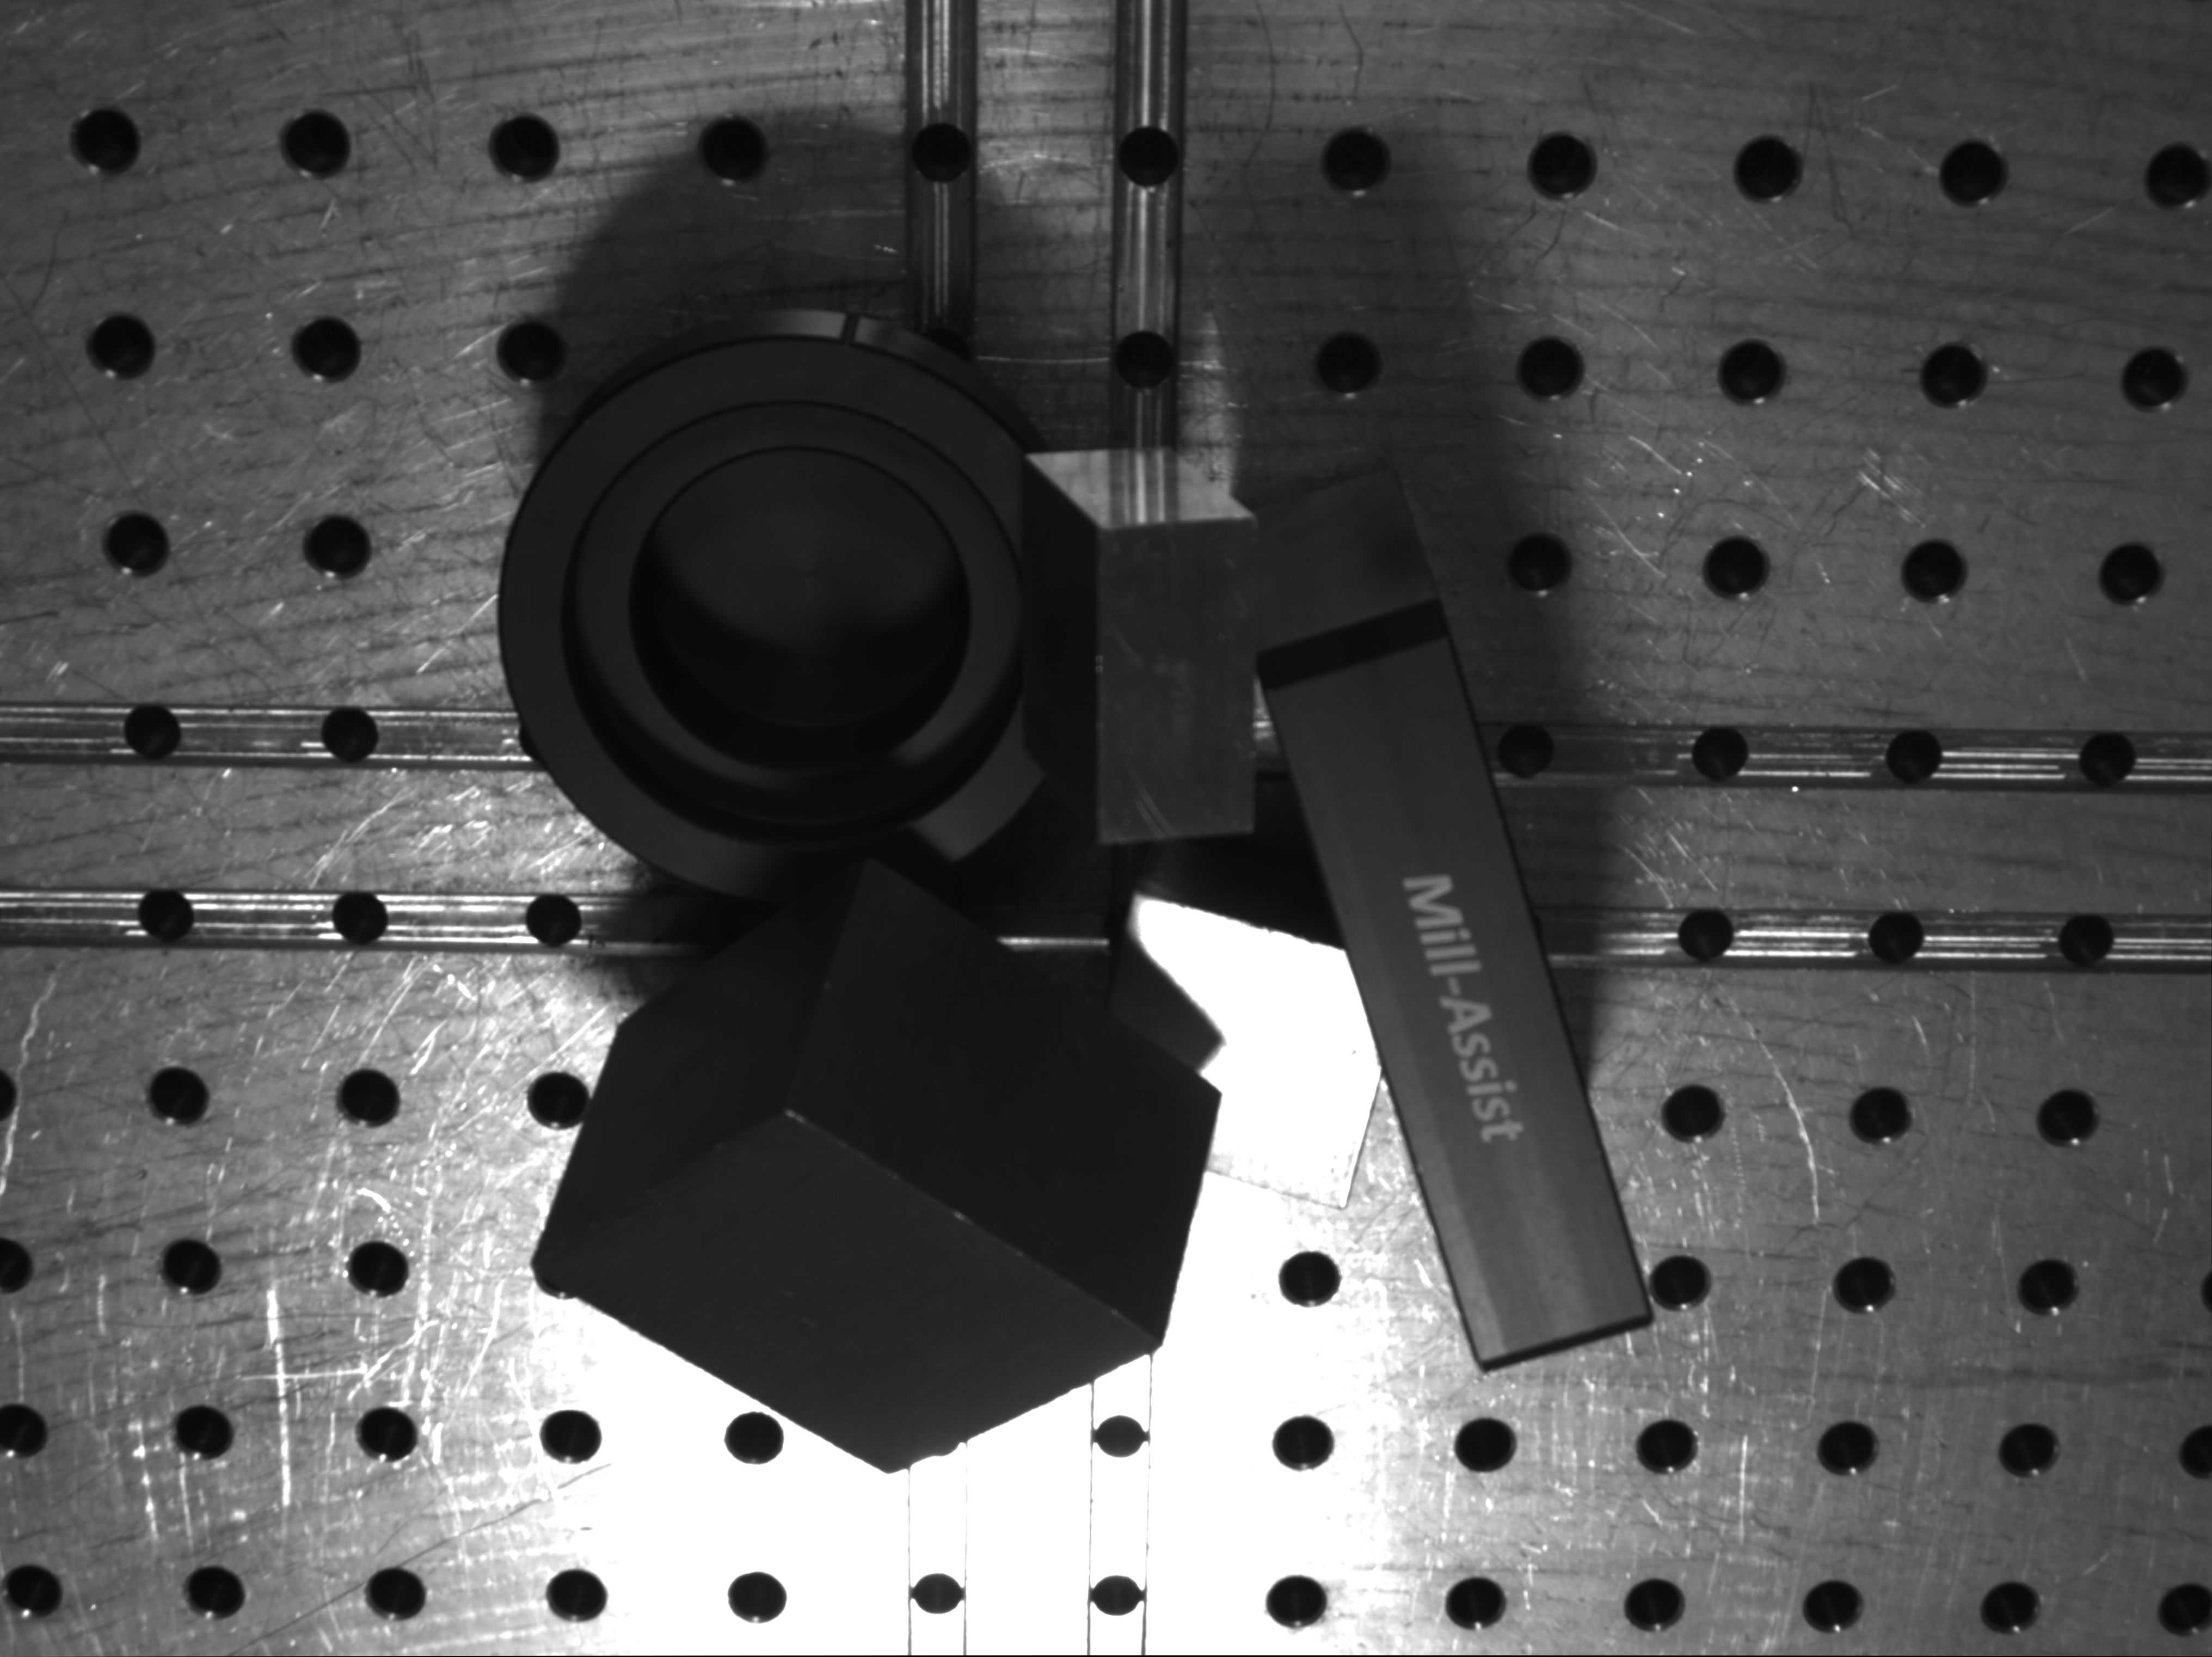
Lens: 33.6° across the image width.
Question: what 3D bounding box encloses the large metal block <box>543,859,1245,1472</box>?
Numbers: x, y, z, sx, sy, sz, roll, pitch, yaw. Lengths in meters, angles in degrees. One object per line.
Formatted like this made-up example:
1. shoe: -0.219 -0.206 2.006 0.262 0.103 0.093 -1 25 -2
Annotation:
1. large metal block: -0.036 0.060 0.630 0.080 0.050 0.080 34 138 -23

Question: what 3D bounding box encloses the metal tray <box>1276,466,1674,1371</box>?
1. metal tray: 0.059 0.013 0.617 0.030 0.090 0.130 -17 109 6

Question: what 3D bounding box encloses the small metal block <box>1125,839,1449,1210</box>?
1. small metal block: 0.030 0.034 0.653 0.050 0.025 0.050 15 114 6

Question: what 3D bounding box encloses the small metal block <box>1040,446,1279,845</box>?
1. small metal block: 0.008 -0.030 0.578 0.025 0.050 0.050 -5 109 -14

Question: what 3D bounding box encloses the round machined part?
1. round machined part: -0.048 -0.040 0.621 0.098 0.042 0.098 0 110 -1
